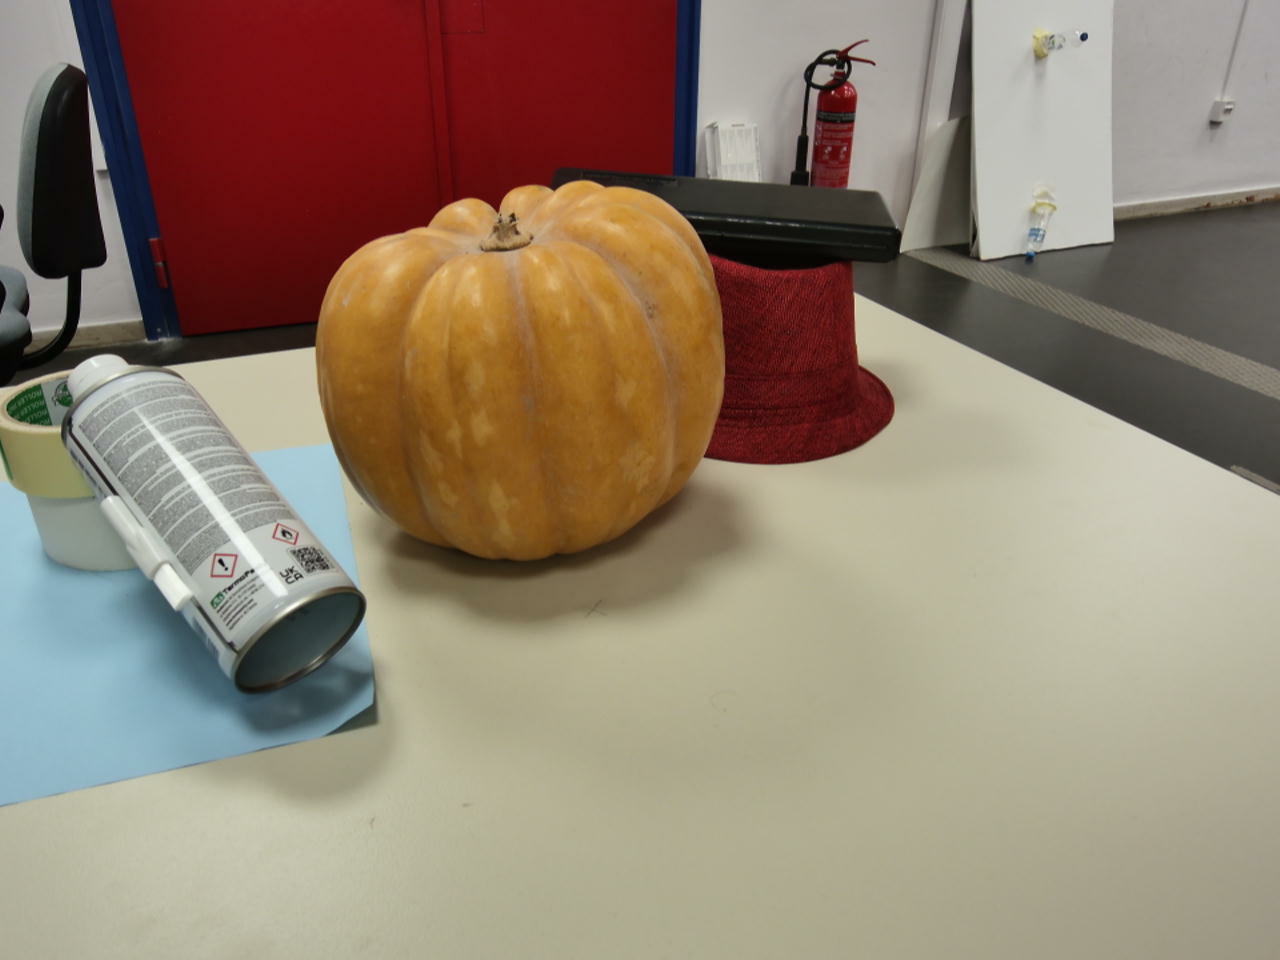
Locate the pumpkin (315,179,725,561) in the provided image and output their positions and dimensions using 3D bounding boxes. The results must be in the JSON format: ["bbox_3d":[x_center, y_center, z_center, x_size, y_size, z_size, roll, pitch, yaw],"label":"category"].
[{"bbox_3d":[-0.062,-0.062,0.560,0.230,0.194,0.230,0,27,0],"label":"pumpkin"}]
